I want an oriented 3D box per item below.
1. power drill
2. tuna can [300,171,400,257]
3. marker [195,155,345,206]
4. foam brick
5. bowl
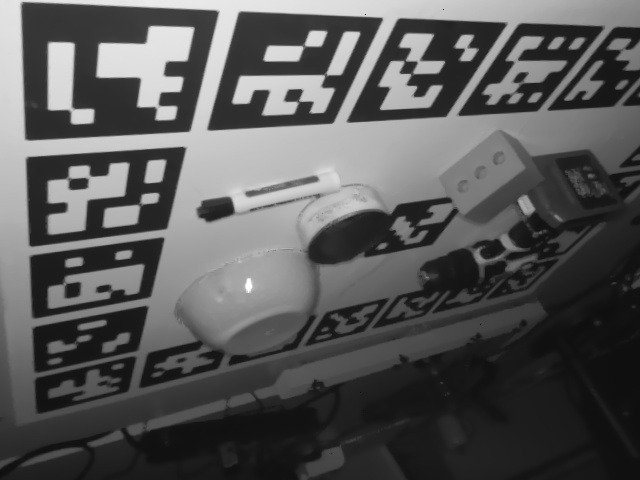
[{"bbox_3d":[0.249,-0.021,0.776,0.187,0.057,0.184,-6,148,-23],"label":"power drill"},{"bbox_3d":[0.026,-0.023,0.626,0.086,0.034,0.085,-16,149,-9],"label":"tuna can"},{"bbox_3d":[-0.039,-0.047,0.553,0.122,0.019,0.019,-14,147,-18],"label":"marker"},{"bbox_3d":[0.174,-0.076,0.644,0.052,0.053,0.077,12,133,-44],"label":"foam brick"},{"bbox_3d":[-0.053,0.060,0.700,0.162,0.055,0.160,-20,157,-8],"label":"bowl"}]
